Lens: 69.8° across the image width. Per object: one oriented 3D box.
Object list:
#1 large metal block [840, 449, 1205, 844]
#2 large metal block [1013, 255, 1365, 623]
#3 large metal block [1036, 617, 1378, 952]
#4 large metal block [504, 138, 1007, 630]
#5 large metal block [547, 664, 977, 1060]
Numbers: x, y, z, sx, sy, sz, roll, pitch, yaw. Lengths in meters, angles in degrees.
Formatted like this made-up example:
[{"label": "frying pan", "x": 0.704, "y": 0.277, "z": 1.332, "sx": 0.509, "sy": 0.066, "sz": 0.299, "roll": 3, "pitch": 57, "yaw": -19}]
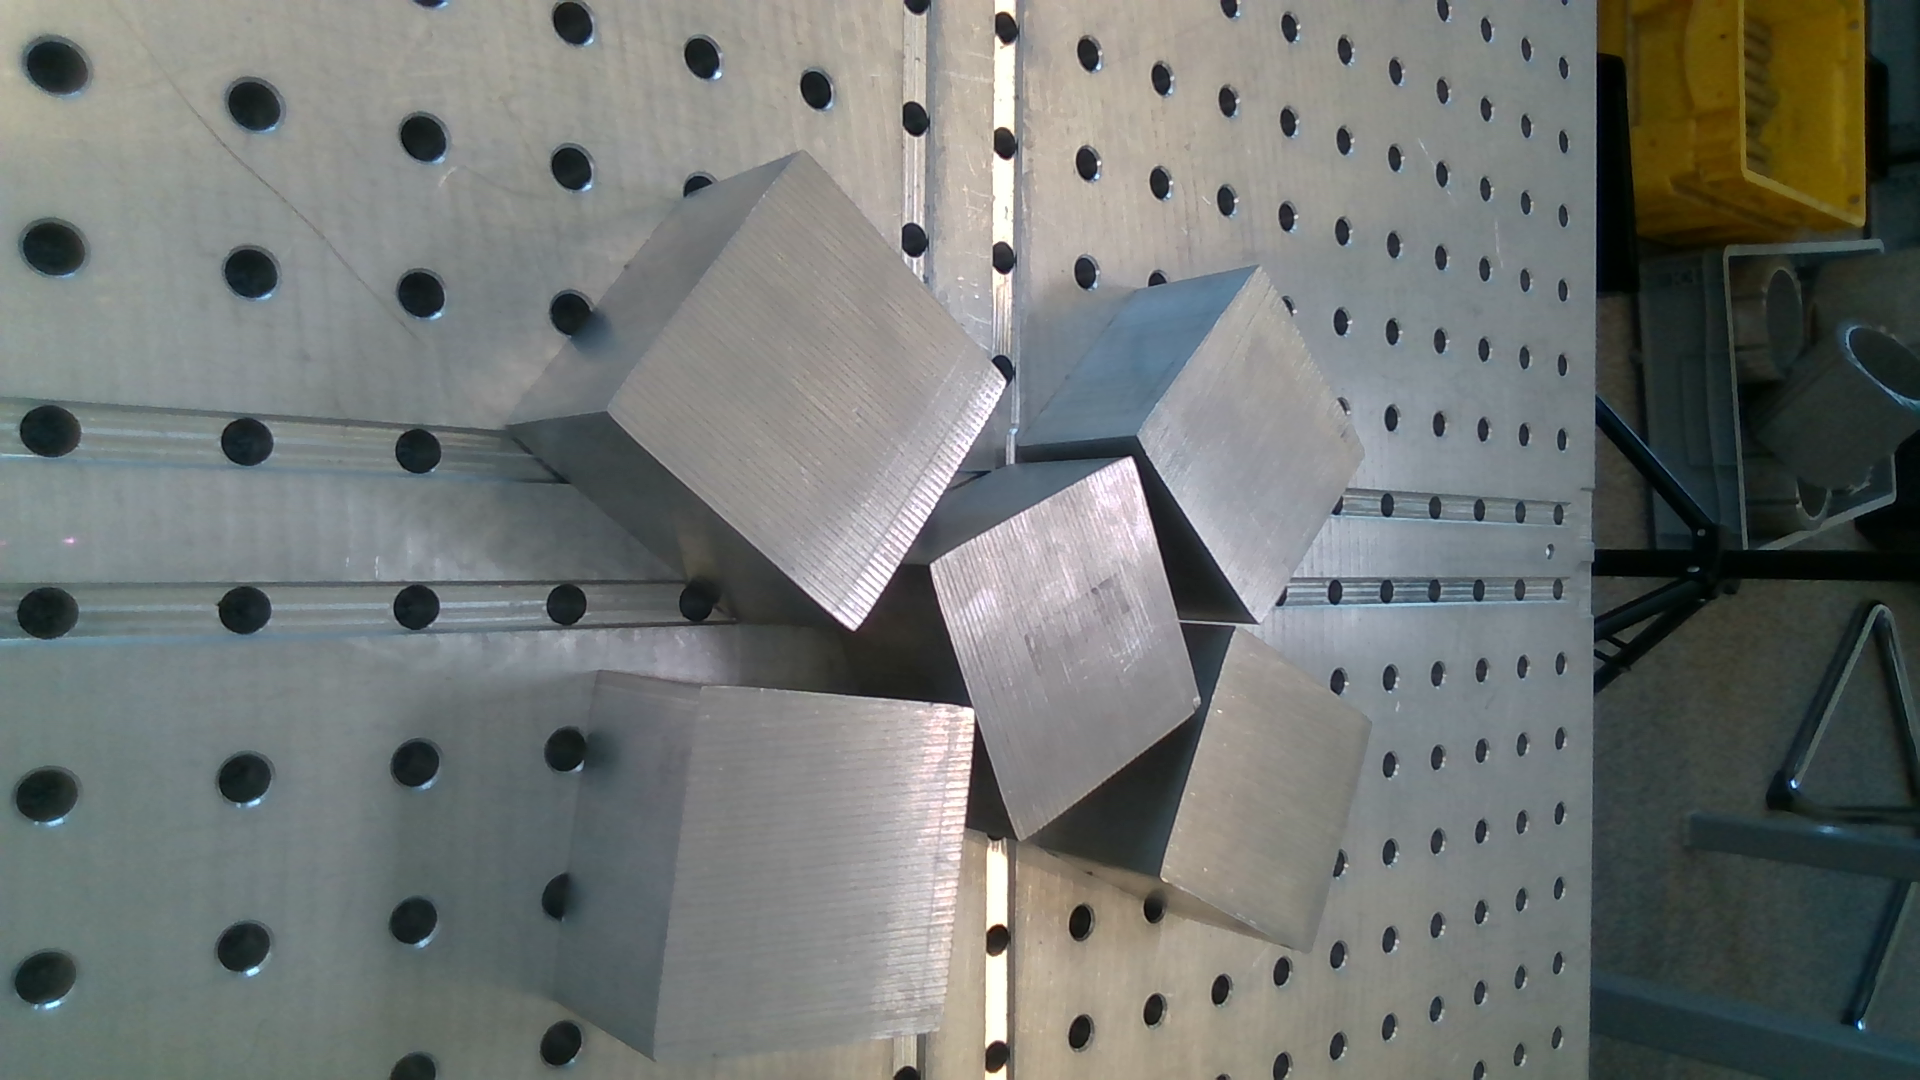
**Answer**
[{"label": "large metal block", "x": 0.016, "y": 0.027, "z": 0.390, "sx": 0.080, "sy": 0.050, "sz": 0.080, "roll": -29, "pitch": 108, "yaw": -36}, {"label": "large metal block", "x": 0.076, "y": -0.031, "z": 0.441, "sx": 0.080, "sy": 0.050, "sz": 0.080, "roll": -52, "pitch": 120, "yaw": -28}, {"label": "large metal block", "x": 0.082, "y": 0.077, "z": 0.445, "sx": 0.080, "sy": 0.050, "sz": 0.080, "roll": 32, "pitch": 73, "yaw": -35}, {"label": "large metal block", "x": -0.047, "y": -0.035, "z": 0.336, "sx": 0.080, "sy": 0.050, "sz": 0.080, "roll": 45, "pitch": 62, "yaw": -31}, {"label": "large metal block", "x": -0.047, "y": 0.076, "z": 0.338, "sx": 0.080, "sy": 0.050, "sz": 0.080, "roll": 12, "pitch": 83, "yaw": -40}]
